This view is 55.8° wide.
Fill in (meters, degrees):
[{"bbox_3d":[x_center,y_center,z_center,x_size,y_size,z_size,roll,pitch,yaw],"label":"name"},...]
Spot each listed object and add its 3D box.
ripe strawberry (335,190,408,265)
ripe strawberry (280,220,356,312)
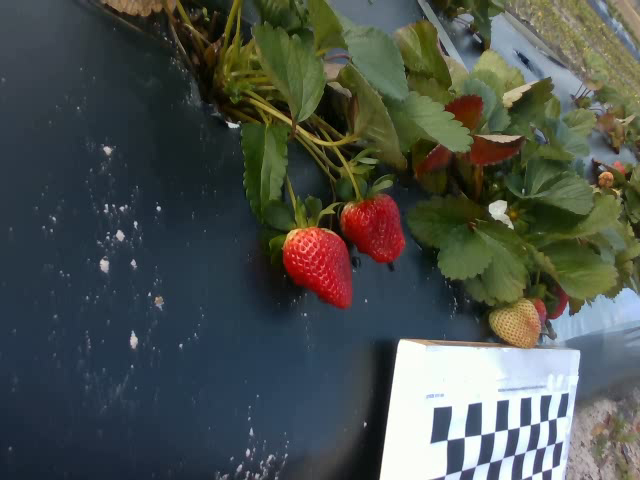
[{"bbox_3d":[0.042,-0.009,0.406,0.042,0.053,0.034,-11,-22,-42],"label":"ripe strawberry"},{"bbox_3d":[0.004,0.017,0.358,0.050,0.061,0.045,-4,-30,-43],"label":"ripe strawberry"}]
